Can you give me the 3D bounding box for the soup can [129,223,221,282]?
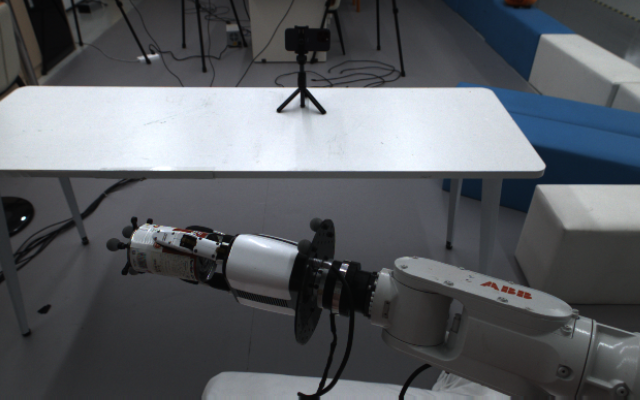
[{"bbox_3d":[-0.194,0.072,0.653,0.101,0.067,0.067,7,35,10],"label":"soup can"}]
